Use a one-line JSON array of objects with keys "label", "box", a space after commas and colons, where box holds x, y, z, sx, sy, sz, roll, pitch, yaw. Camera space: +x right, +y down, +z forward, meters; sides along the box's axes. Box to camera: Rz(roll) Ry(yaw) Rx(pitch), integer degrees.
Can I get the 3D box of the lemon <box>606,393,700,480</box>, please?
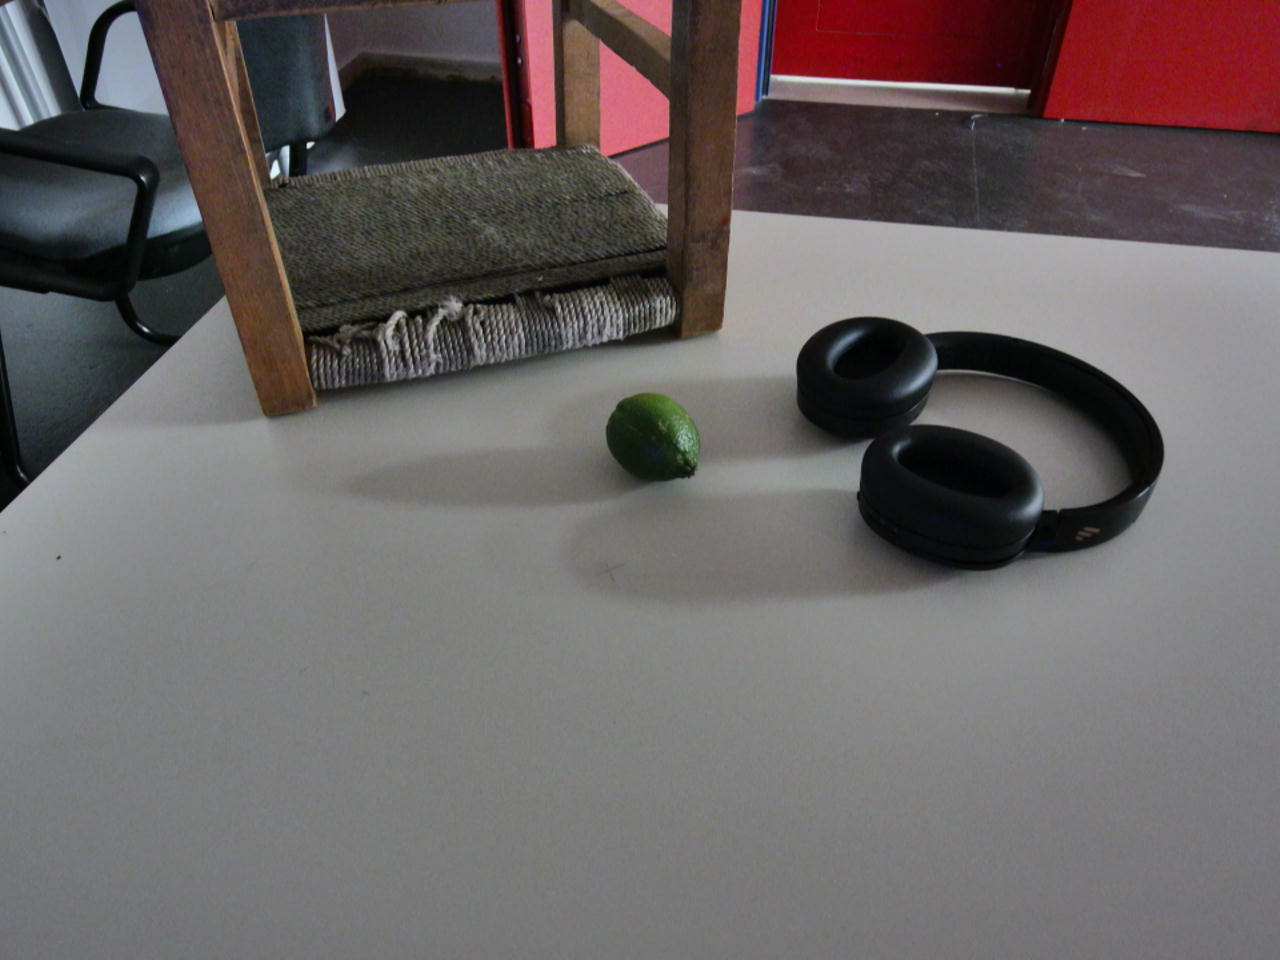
[{"label": "lemon", "box": [0.009, -0.027, 0.607, 0.057, 0.051, 0.054, 5, 39, 7]}]
